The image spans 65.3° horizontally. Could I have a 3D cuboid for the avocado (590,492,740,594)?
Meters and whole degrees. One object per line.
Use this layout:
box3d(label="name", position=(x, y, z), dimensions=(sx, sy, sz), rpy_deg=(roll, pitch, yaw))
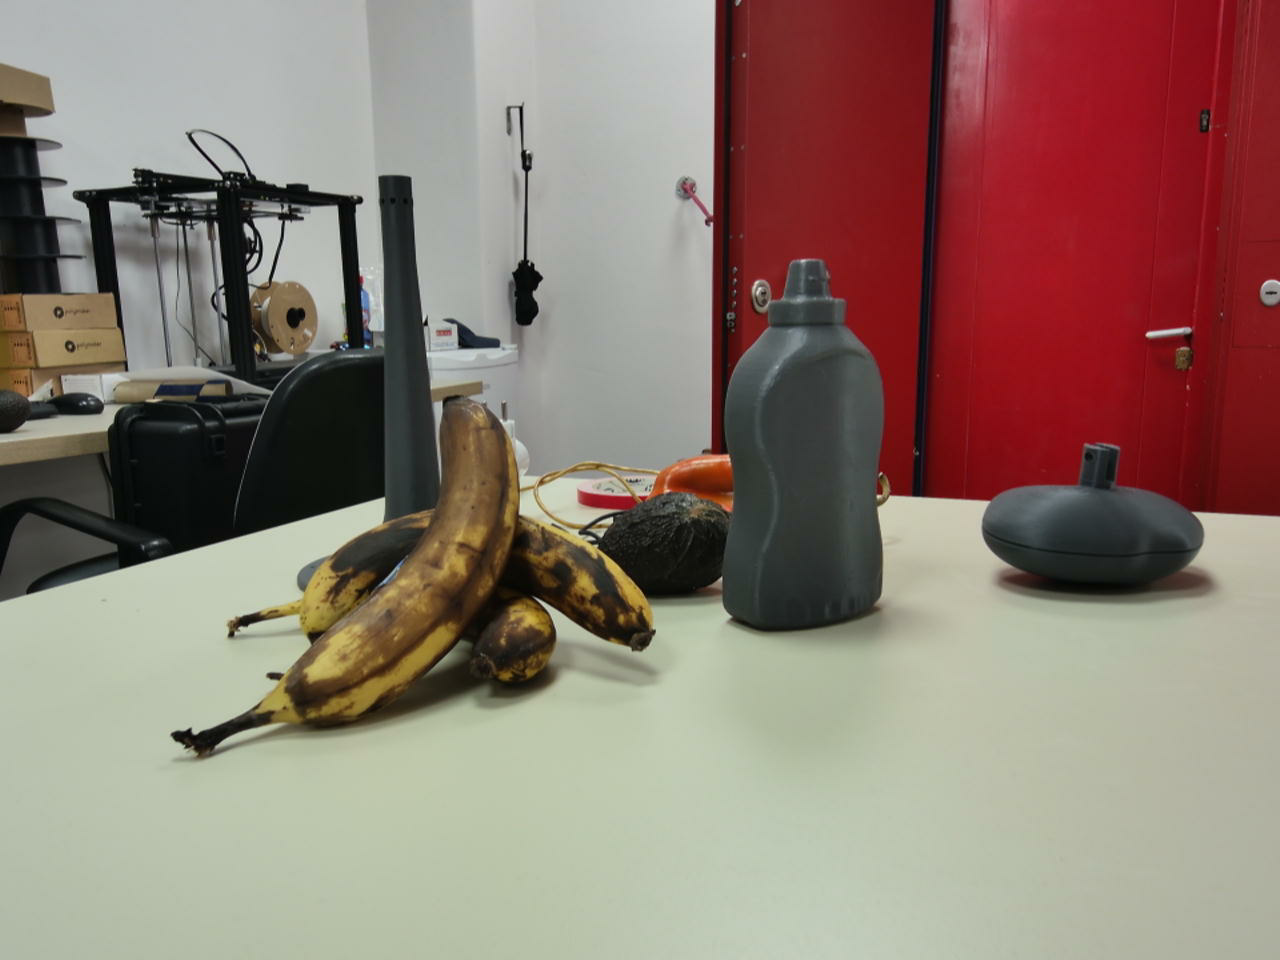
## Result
box3d(label="avocado", position=(0.016, 0.038, 0.614), dimensions=(0.092, 0.062, 0.062), rpy_deg=(0, 7, -1))
